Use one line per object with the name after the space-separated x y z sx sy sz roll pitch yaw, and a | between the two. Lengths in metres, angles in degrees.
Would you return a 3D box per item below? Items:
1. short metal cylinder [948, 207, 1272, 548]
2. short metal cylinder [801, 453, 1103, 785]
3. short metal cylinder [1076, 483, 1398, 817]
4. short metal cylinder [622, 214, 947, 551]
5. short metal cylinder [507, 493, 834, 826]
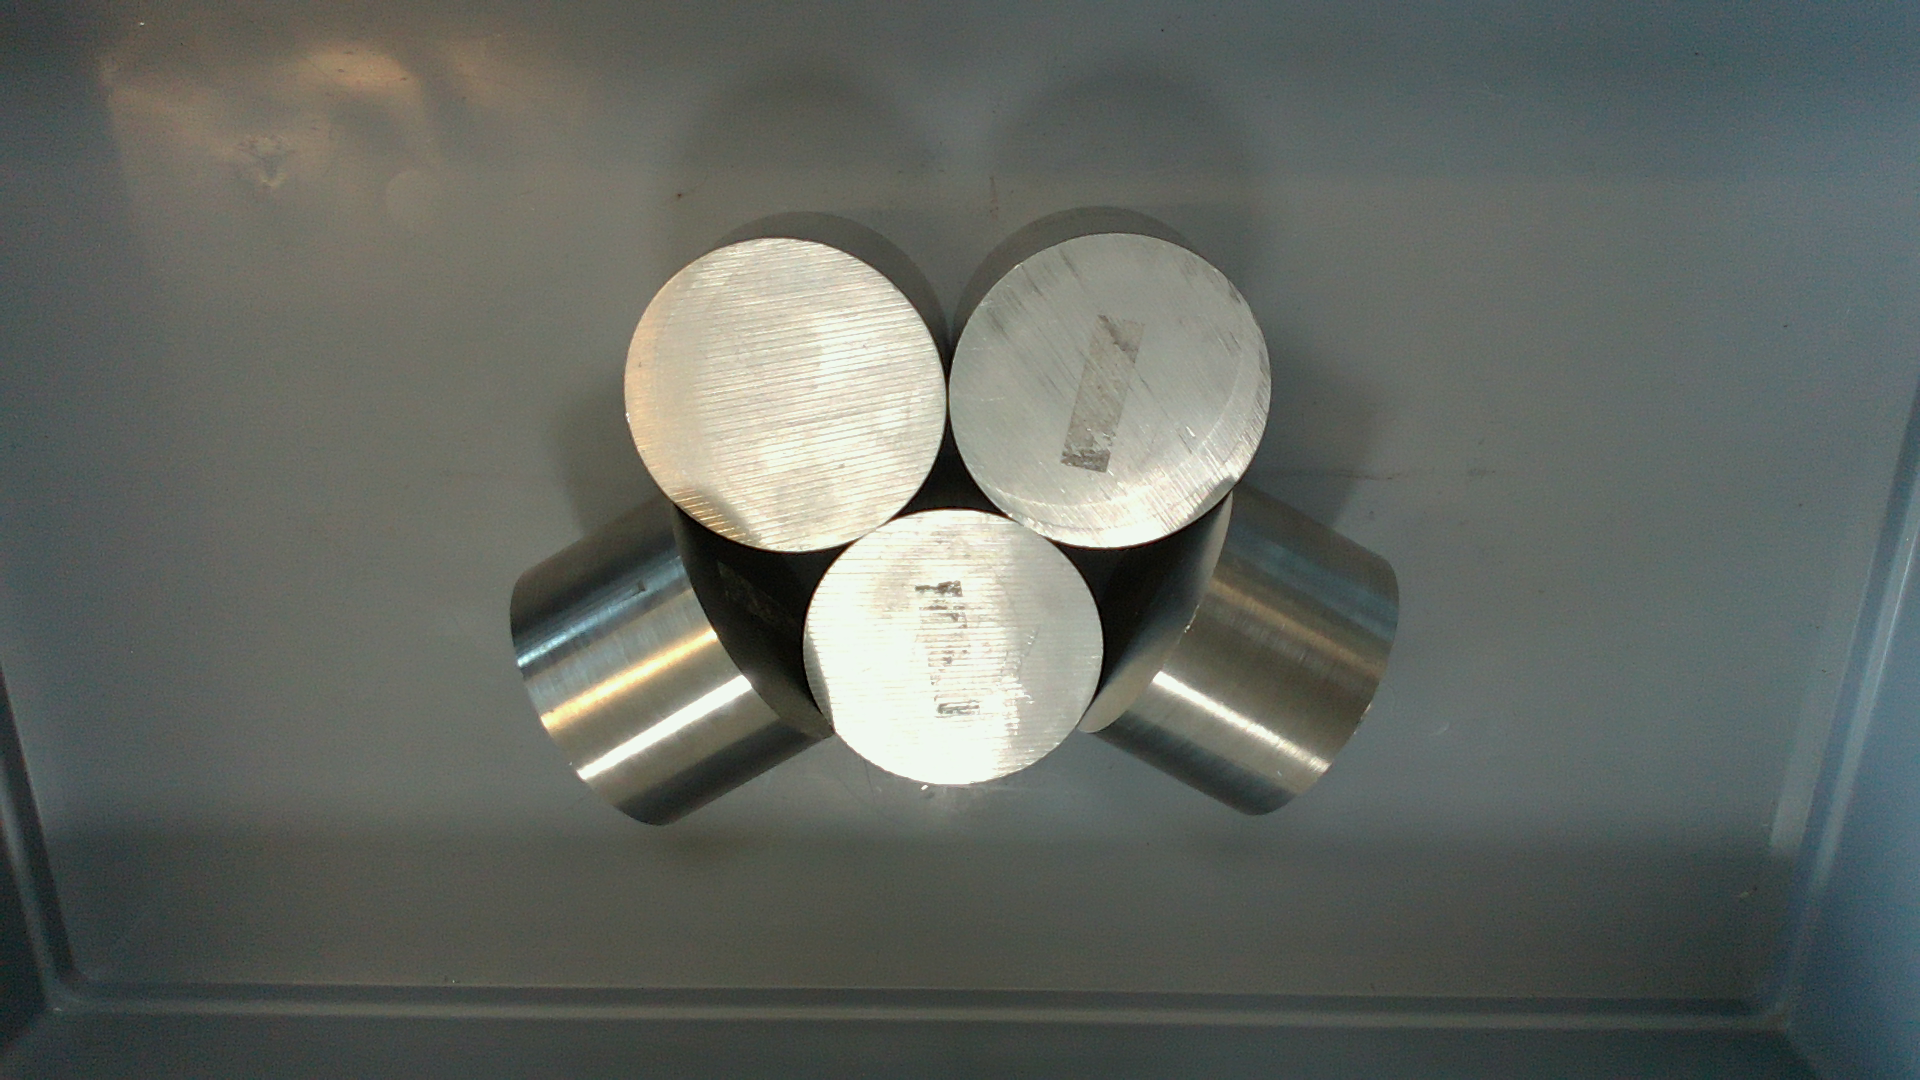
0.037 -0.044 0.363 0.080 0.050 0.080 0 110 0 | short metal cylinder
-0.002 0.021 0.387 0.080 0.050 0.080 0 110 0 | short metal cylinder
0.073 0.028 0.374 0.050 0.080 0.080 28 108 -10 | short metal cylinder
-0.043 -0.043 0.363 0.080 0.050 0.080 0 110 0 | short metal cylinder
-0.076 0.030 0.374 0.050 0.080 0.080 -29 108 10 | short metal cylinder
